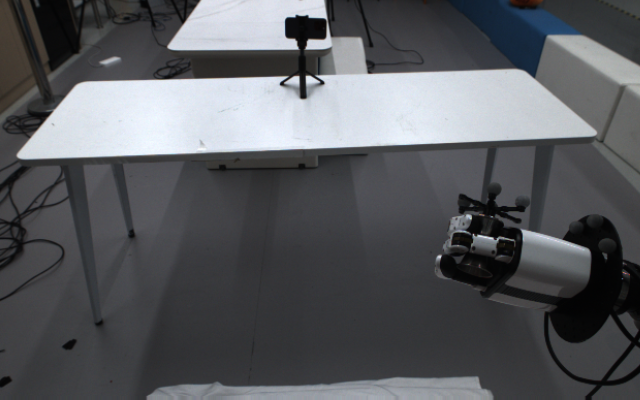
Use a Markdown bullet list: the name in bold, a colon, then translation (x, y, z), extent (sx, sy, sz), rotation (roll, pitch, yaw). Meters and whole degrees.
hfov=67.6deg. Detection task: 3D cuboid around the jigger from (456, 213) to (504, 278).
- **jigger**: translation (0.202, 0.055, 0.601), extent (0.043, 0.043, 0.071), rotation (15, 70, 18)
